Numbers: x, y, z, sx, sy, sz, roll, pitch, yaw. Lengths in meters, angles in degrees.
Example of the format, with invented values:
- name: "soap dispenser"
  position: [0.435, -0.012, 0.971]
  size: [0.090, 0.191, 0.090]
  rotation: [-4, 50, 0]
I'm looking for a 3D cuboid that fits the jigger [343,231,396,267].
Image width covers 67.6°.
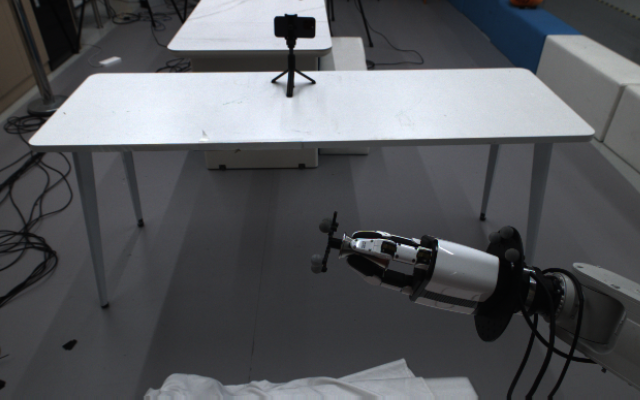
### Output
- name: "jigger"
  position: [0.070, 0.067, 0.673]
  size: [0.071, 0.043, 0.043]
  rotation: [13, 36, 4]
